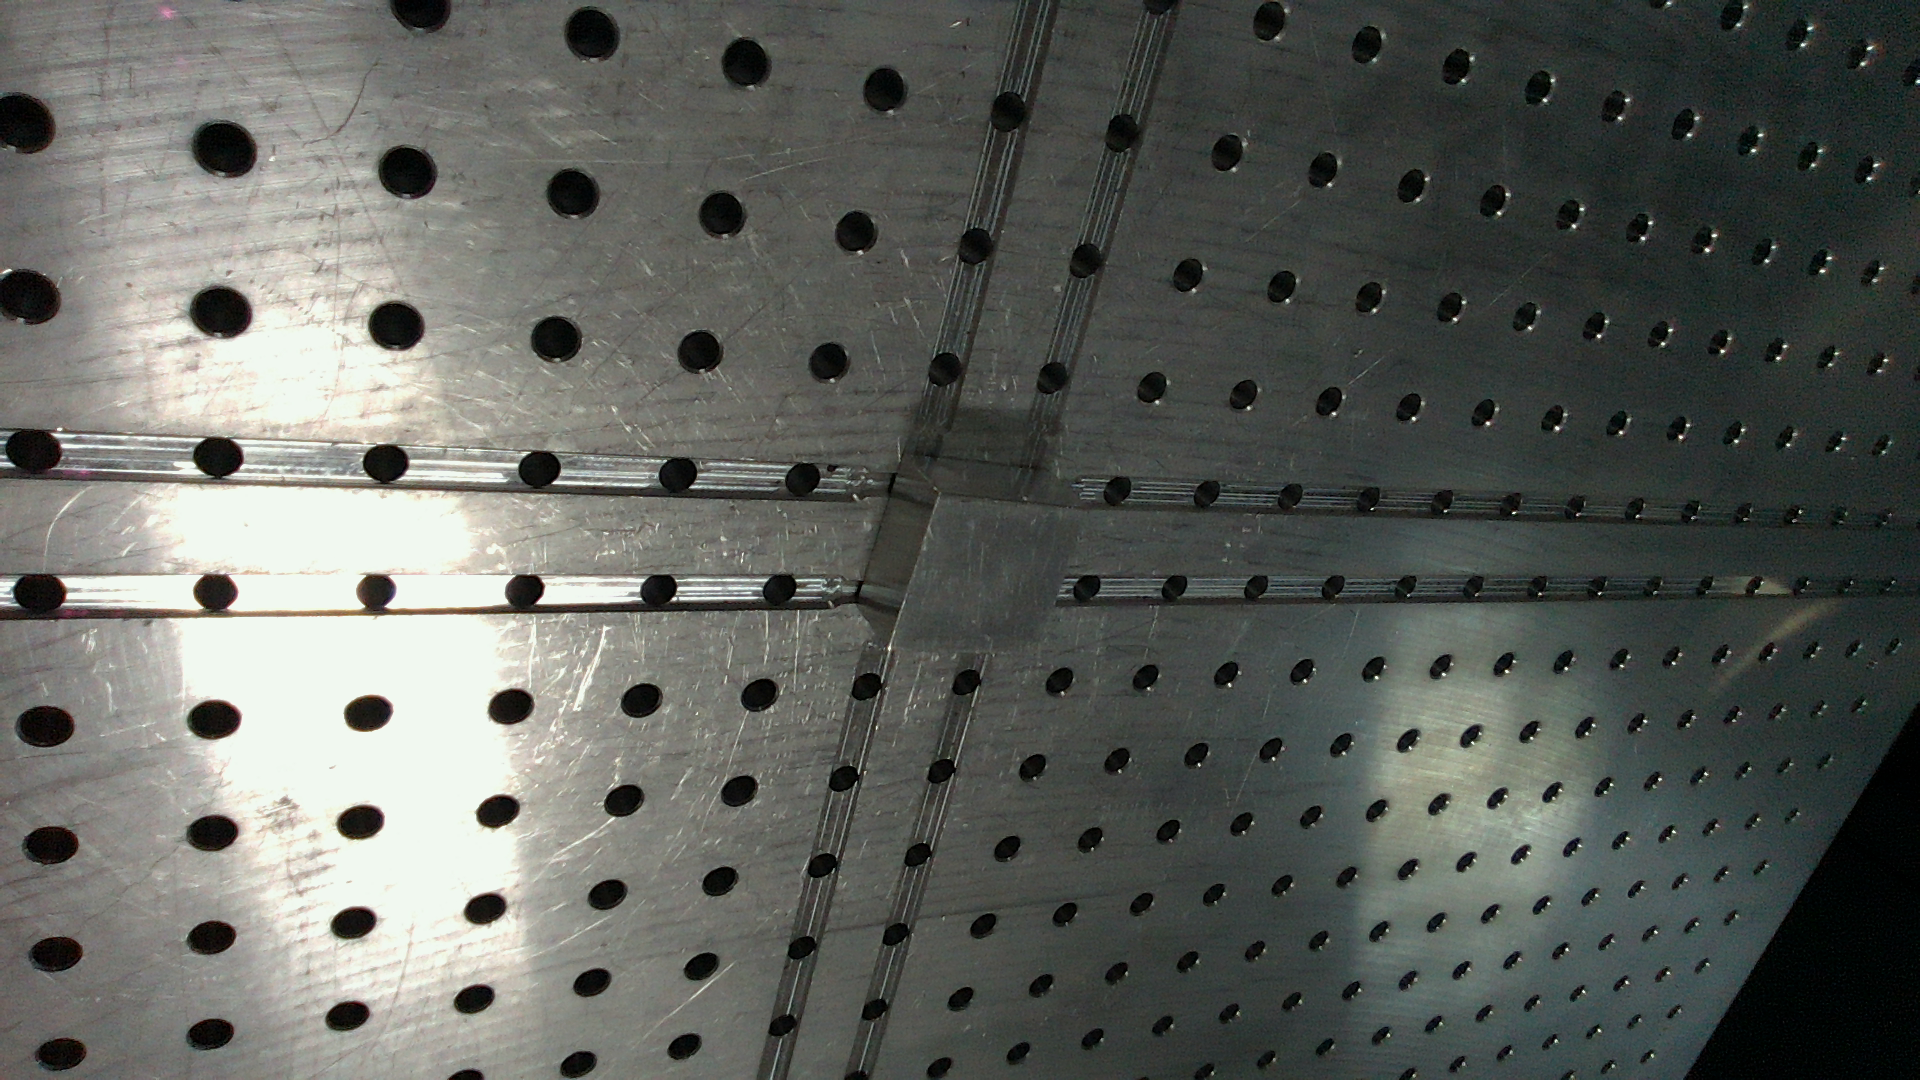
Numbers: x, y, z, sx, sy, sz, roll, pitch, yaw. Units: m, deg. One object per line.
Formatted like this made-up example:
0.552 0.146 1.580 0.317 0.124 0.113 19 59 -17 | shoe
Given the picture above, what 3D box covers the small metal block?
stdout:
0.003 0.005 0.397 0.050 0.025 0.050 5 116 -31 | small metal block
